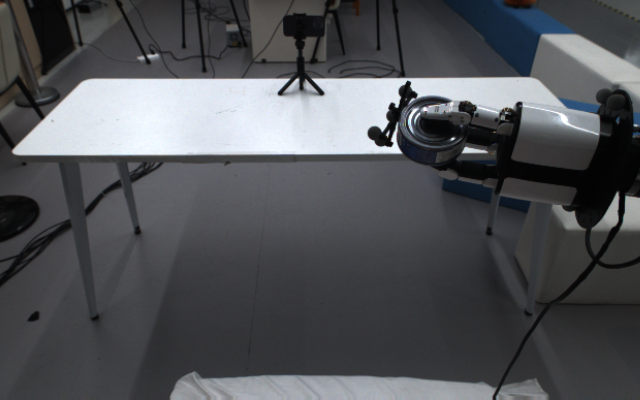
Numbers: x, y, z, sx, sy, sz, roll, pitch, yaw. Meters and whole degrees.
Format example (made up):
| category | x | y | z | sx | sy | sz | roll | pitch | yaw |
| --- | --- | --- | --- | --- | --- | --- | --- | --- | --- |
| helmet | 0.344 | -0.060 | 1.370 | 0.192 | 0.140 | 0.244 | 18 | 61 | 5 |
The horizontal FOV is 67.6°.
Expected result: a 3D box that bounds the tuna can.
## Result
| category | x | y | z | sx | sy | sz | roll | pitch | yaw |
| --- | --- | --- | --- | --- | --- | --- | --- | --- | --- |
| tuna can | 0.140 | -0.088 | 0.599 | 0.085 | 0.034 | 0.085 | -1 | 61 | 1 |
